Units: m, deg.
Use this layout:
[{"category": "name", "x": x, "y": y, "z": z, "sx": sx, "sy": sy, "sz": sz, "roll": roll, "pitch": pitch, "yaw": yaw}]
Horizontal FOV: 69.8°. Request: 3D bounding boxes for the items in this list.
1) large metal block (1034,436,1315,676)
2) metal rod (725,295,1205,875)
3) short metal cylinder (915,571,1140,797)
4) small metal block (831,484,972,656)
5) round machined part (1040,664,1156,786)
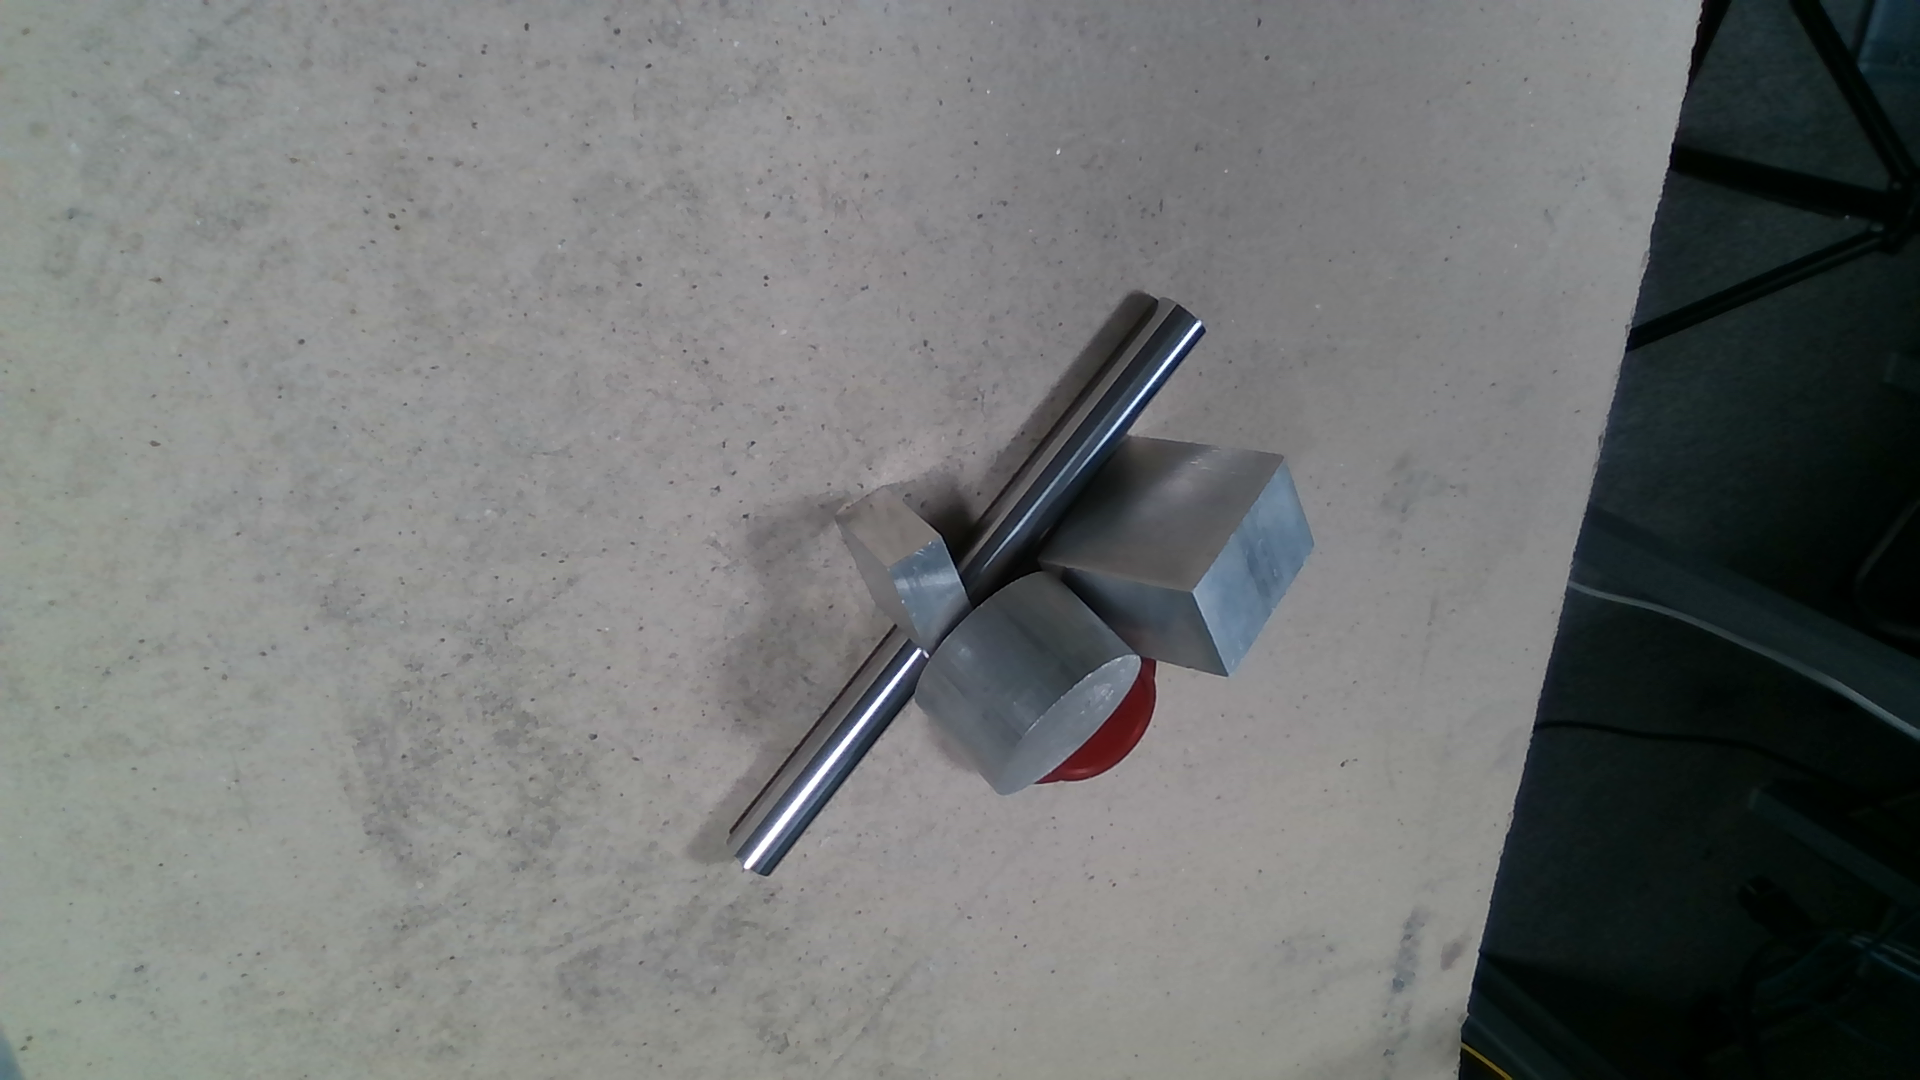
[{"category": "large metal block", "x": 0.093, "y": 0.004, "z": 0.591, "sx": 0.080, "sy": 0.080, "sz": 0.050, "roll": -52, "pitch": 132, "yaw": -27}, {"category": "metal rod", "x": 0.001, "y": 0.020, "z": 0.593, "sx": 0.300, "sy": 0.025, "sz": 0.025, "roll": -51, "pitch": 129, "yaw": 2}, {"category": "short metal cylinder", "x": 0.028, "y": 0.059, "z": 0.566, "sx": 0.080, "sy": 0.050, "sz": 0.080, "roll": -37, "pitch": 156, "yaw": -20}, {"category": "small metal block", "x": -0.022, "y": 0.013, "z": 0.559, "sx": 0.025, "sy": 0.050, "sz": 0.050, "roll": -34, "pitch": 128, "yaw": -13}, {"category": "round machined part", "x": 0.052, "y": 0.074, "z": 0.641, "sx": 0.098, "sy": 0.042, "sz": 0.098, "roll": -14, "pitch": 122, "yaw": -25}]
